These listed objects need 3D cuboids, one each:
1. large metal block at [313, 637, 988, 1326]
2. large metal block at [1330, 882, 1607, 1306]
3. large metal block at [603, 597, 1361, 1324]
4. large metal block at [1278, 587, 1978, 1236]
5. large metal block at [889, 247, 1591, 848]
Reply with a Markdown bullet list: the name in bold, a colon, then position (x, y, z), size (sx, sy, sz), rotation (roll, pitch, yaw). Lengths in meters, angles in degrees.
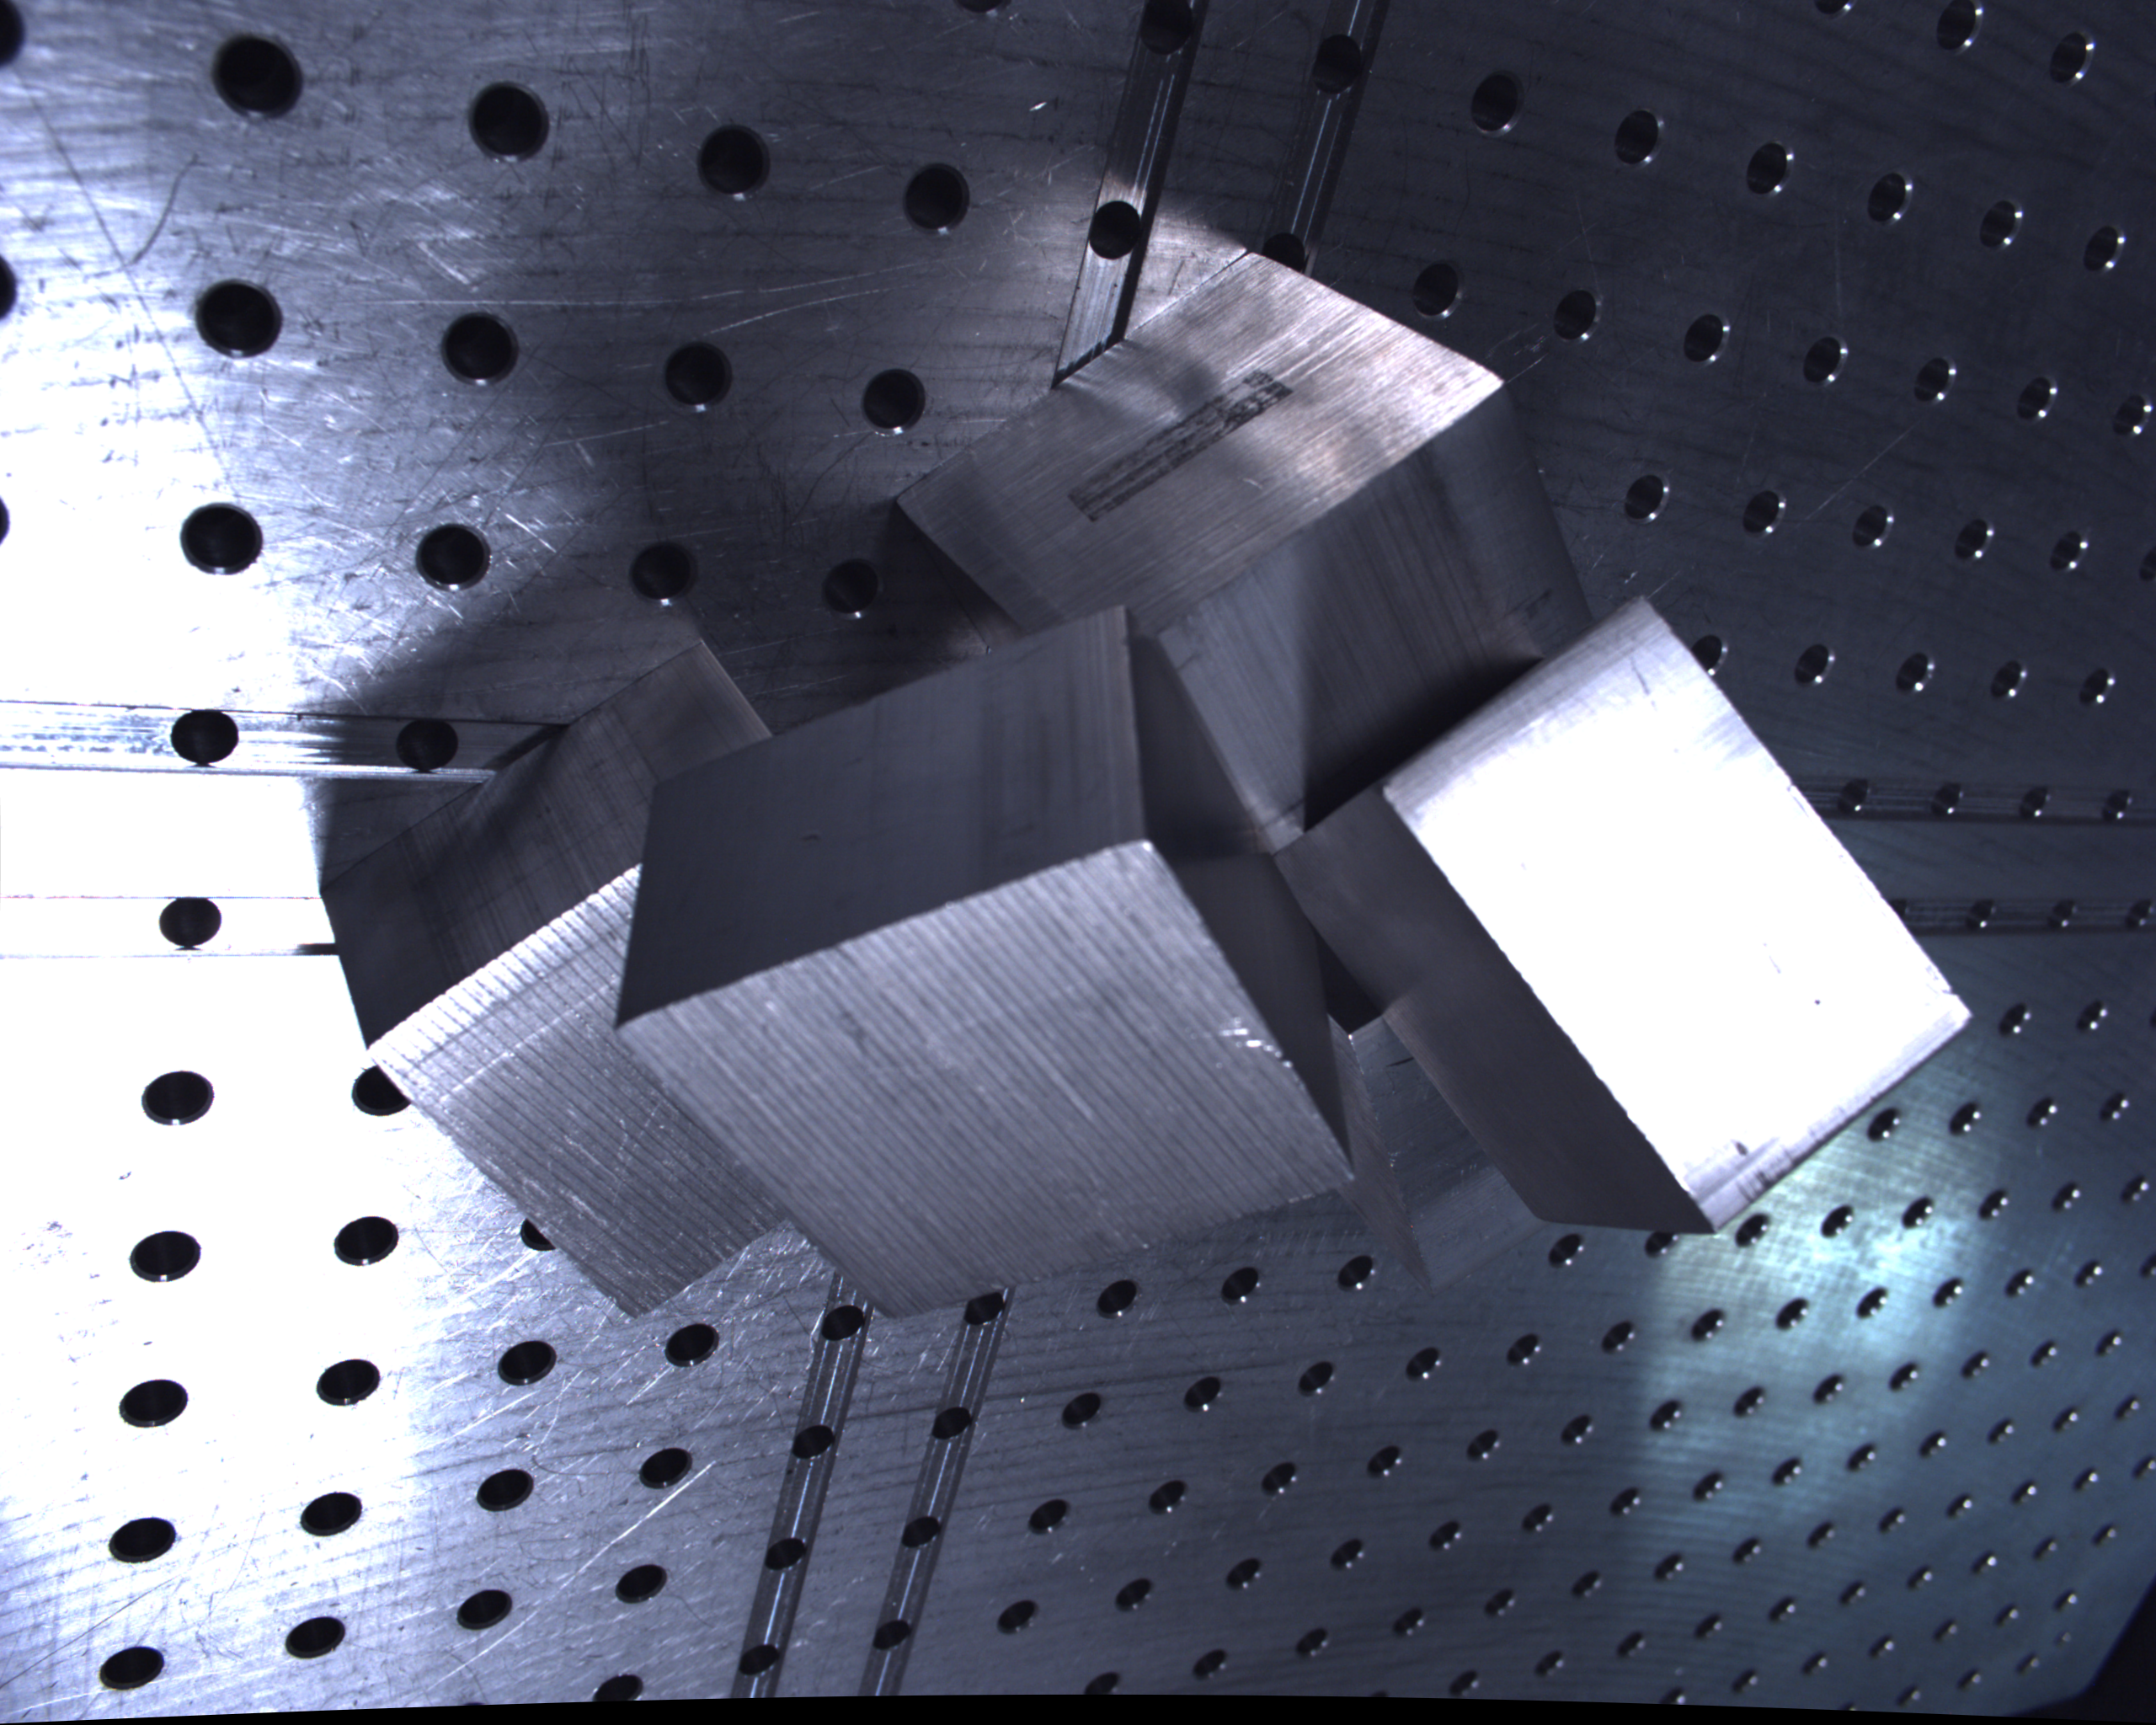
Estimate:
- **large metal block**: position (-0.072, 0.021, 0.369), size (0.080, 0.050, 0.080), rotation (-34, 129, -6)
- **large metal block**: position (0.064, 0.029, 0.428), size (0.050, 0.080, 0.080), rotation (-30, 129, -10)
- **large metal block**: position (-0.012, 0.018, 0.316), size (0.080, 0.050, 0.080), rotation (-20, 131, 15)
- **large metal block**: position (0.081, 0.012, 0.337), size (0.050, 0.080, 0.080), rotation (-37, 87, -10)
- **large metal block**: position (0.026, -0.052, 0.357), size (0.080, 0.080, 0.050), rotation (-36, 129, -5)
